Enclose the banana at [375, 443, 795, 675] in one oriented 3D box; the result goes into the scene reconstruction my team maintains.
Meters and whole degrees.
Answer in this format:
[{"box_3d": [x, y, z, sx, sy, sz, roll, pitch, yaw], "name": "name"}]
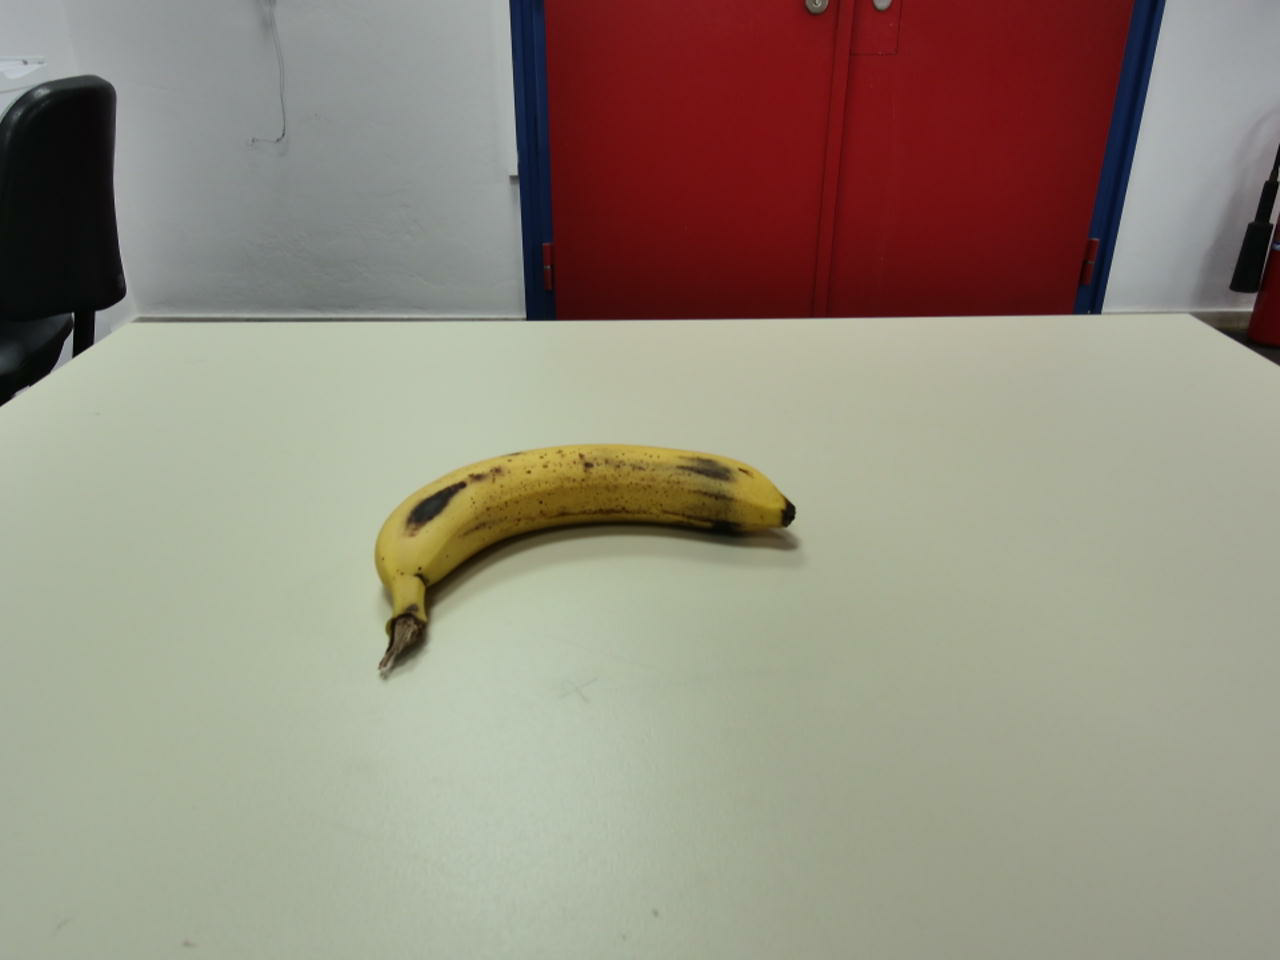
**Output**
[{"box_3d": [-0.032, 0.016, 0.443, 0.186, 0.038, 0.097, -12, 27, -25], "name": "banana"}]
